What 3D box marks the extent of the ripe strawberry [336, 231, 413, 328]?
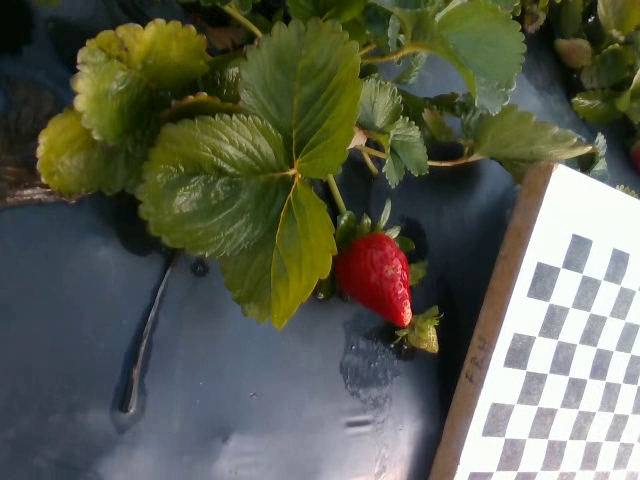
[{"bbox_3d":[0.038,0.027,0.339,0.043,0.052,0.057,-13,48,-22],"label":"ripe strawberry"}]
